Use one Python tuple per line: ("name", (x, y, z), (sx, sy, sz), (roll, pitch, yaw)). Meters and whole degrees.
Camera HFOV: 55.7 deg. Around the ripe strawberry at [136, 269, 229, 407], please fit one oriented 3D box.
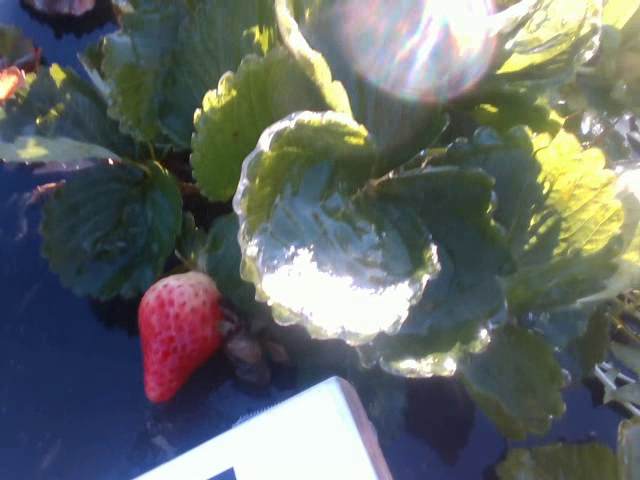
("ripe strawberry", (-0.071, 0.041, 0.267), (0.040, 0.065, 0.040), (12, -16, 22))
